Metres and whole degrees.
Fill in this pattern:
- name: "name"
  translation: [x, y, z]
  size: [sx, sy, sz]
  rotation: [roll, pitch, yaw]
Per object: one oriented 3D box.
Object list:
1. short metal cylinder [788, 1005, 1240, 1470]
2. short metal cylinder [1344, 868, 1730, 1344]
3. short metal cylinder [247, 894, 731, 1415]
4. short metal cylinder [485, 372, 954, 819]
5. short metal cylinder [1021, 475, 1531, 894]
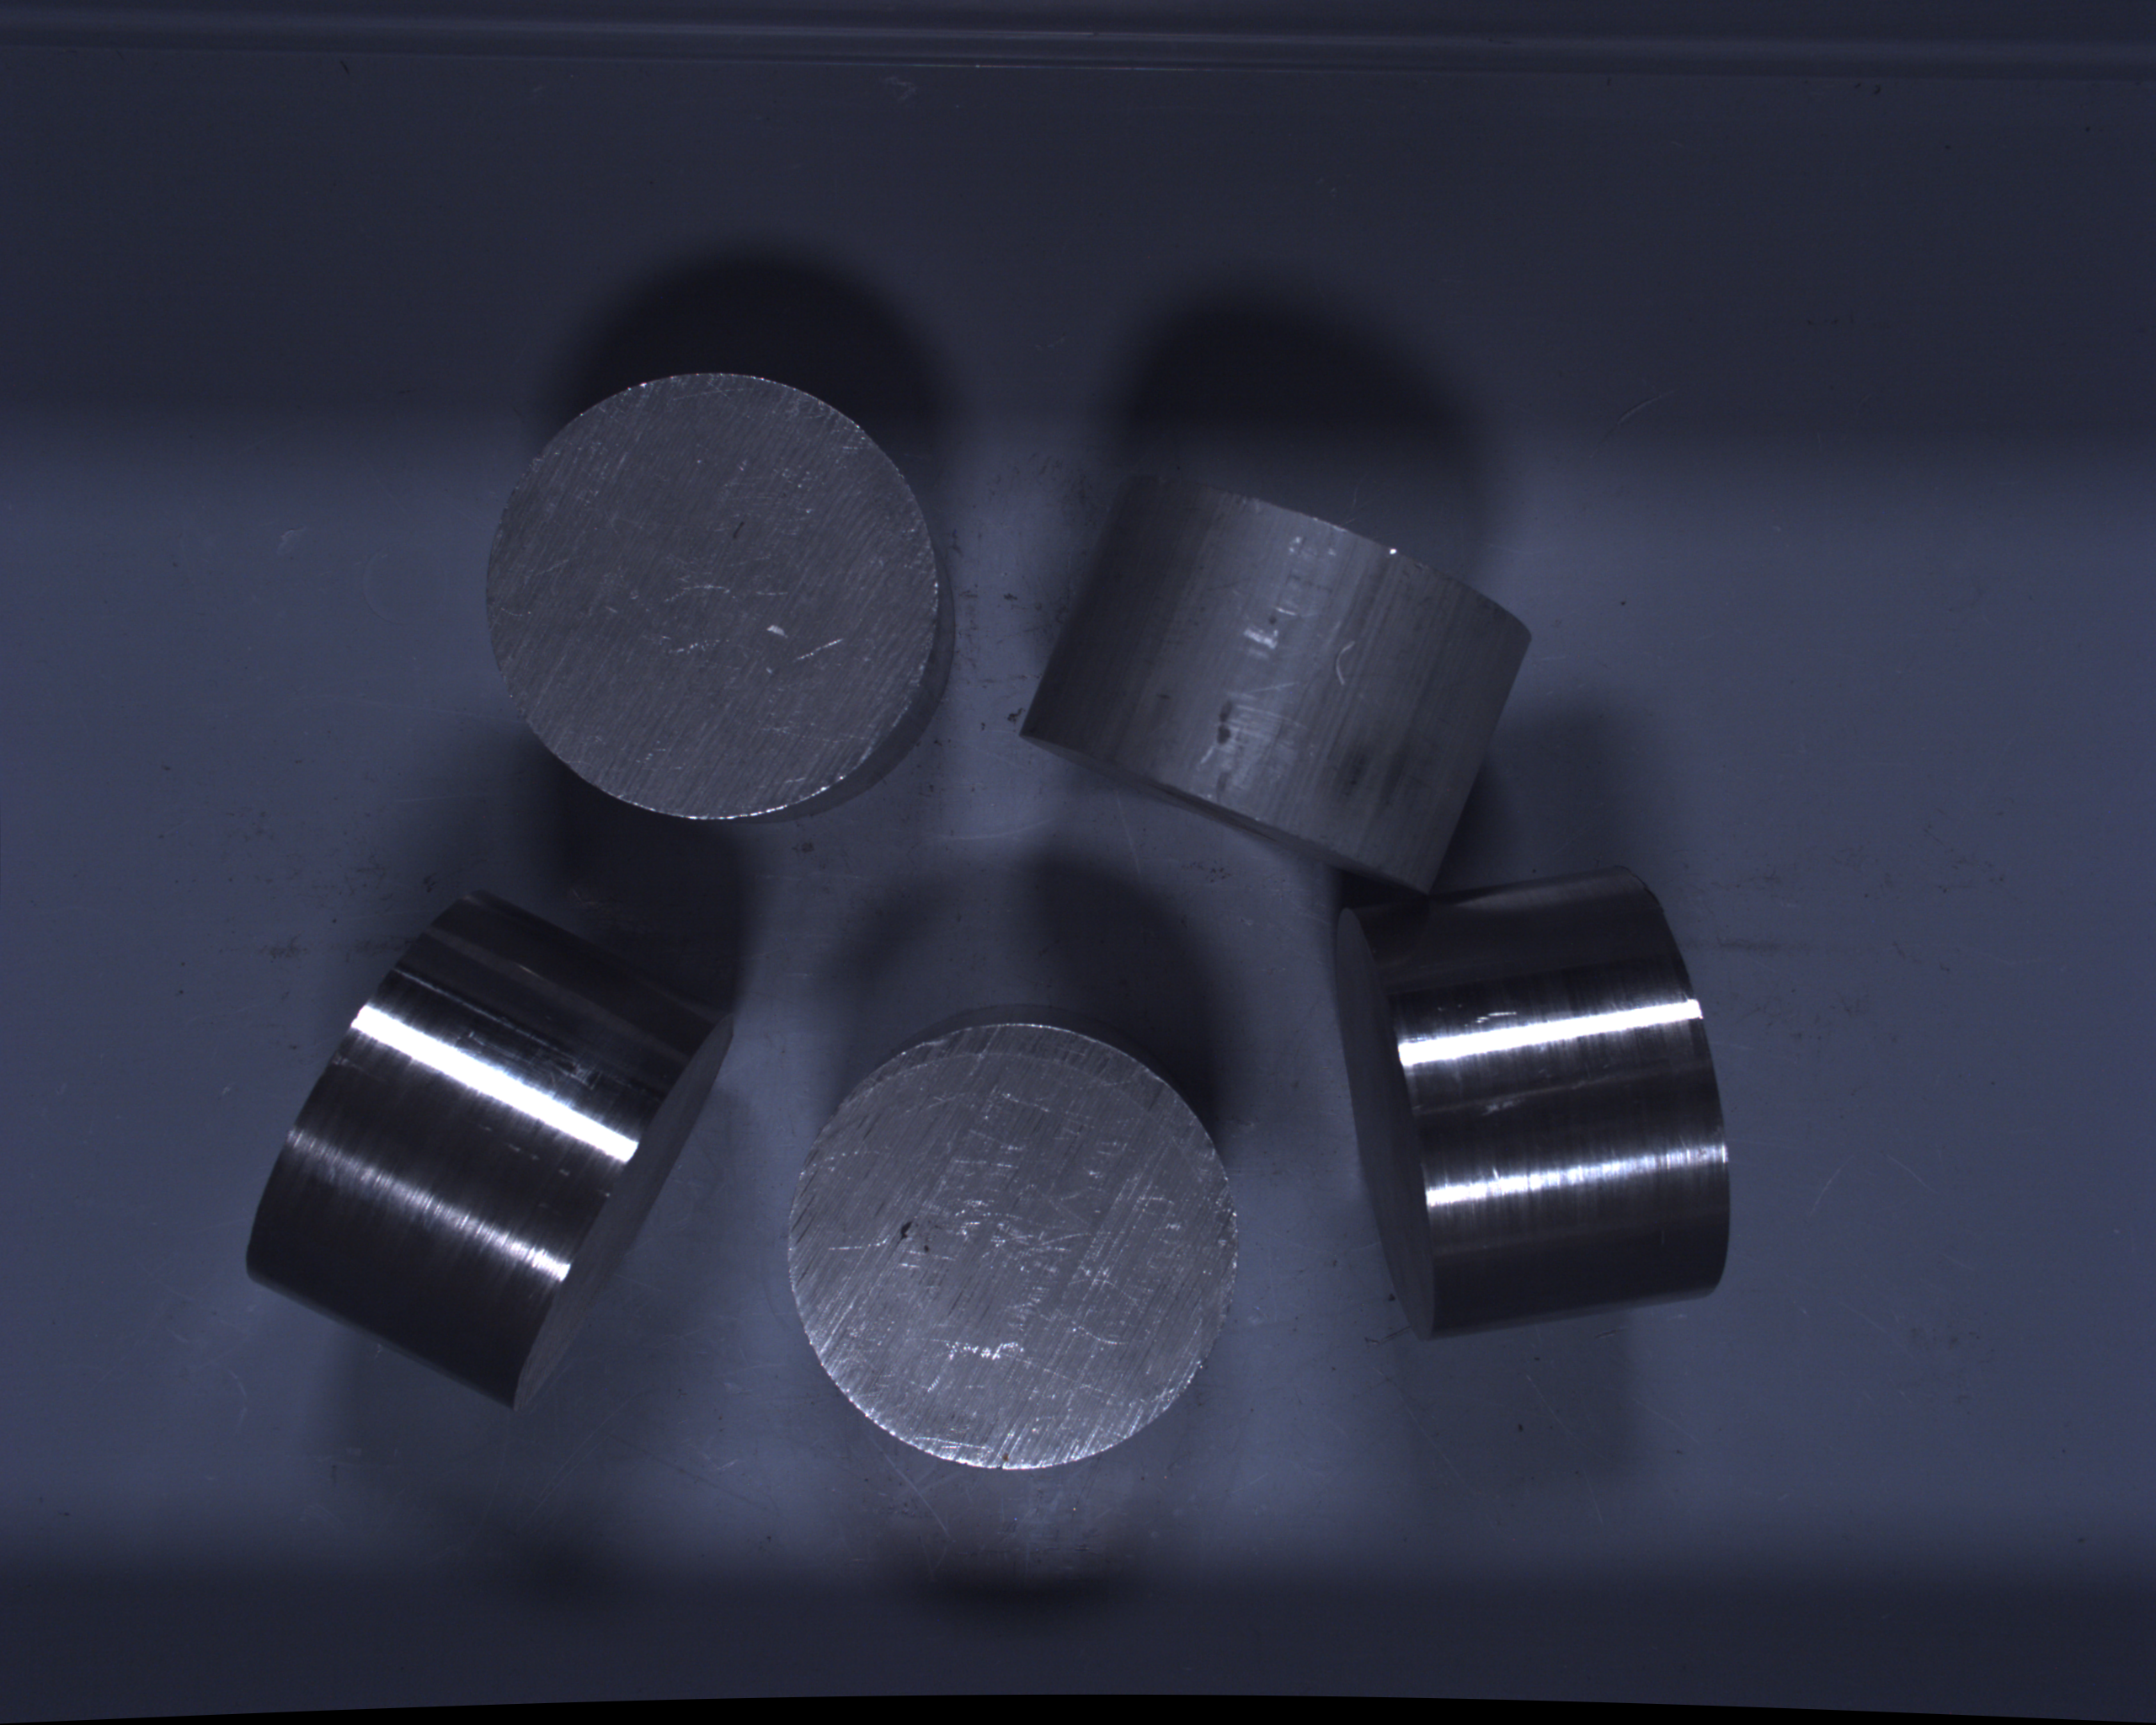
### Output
- name: "short metal cylinder"
  translation: [-0.011, 0.069, 0.397]
  size: [0.081, 0.050, 0.079]
  rotation: [0, 90, -1]
- name: "short metal cylinder"
  translation: [0.081, 0.044, 0.383]
  size: [0.050, 0.080, 0.080]
  rotation: [-9, 90, 0]
- name: "short metal cylinder"
  translation: [-0.105, 0.052, 0.380]
  size: [0.050, 0.080, 0.080]
  rotation: [27, 90, -1]
- name: "short metal cylinder"
  translation: [-0.065, -0.048, 0.396]
  size: [0.081, 0.050, 0.079]
  rotation: [0, 90, -1]
- name: "short metal cylinder"
  translation: [0.036, -0.032, 0.384]
  size: [0.080, 0.080, 0.050]
  rotation: [22, 90, -1]
